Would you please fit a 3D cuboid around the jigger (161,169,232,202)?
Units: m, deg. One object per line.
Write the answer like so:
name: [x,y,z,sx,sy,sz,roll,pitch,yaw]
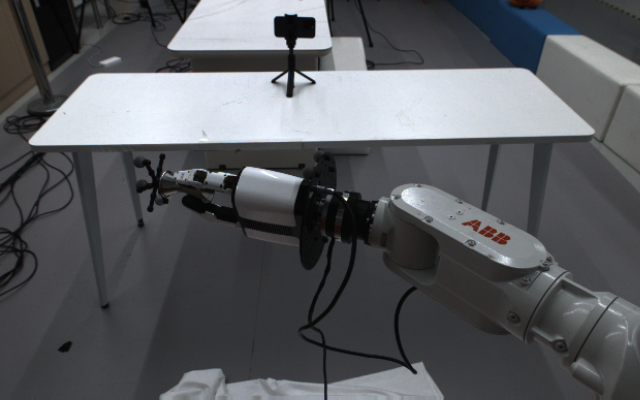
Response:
jigger: [-0.185,-0.025,0.704,0.071,0.043,0.043,5,34,14]
